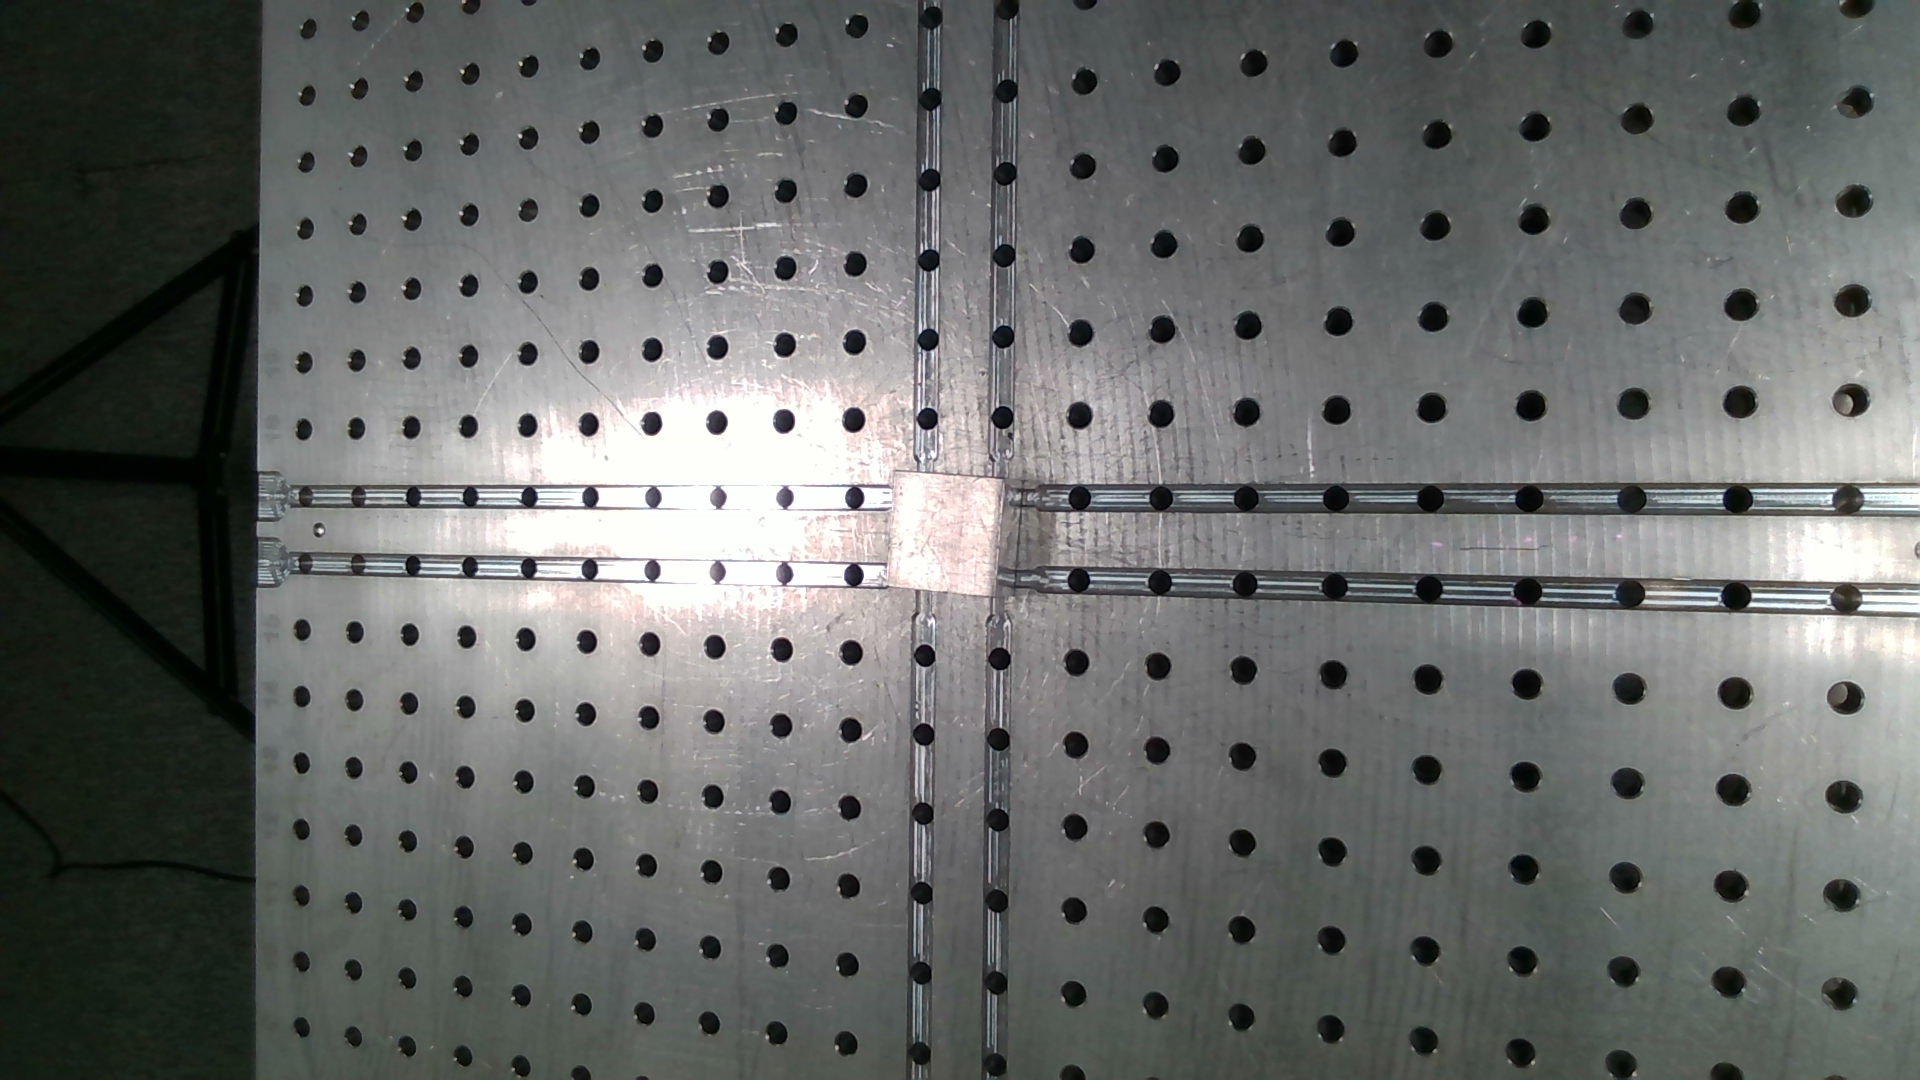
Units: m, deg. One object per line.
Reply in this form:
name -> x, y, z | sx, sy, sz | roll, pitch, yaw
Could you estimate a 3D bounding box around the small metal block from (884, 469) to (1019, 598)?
small metal block -> -0.003, -0.003, 0.589 | 0.050, 0.025, 0.050 | 5, 92, 20
